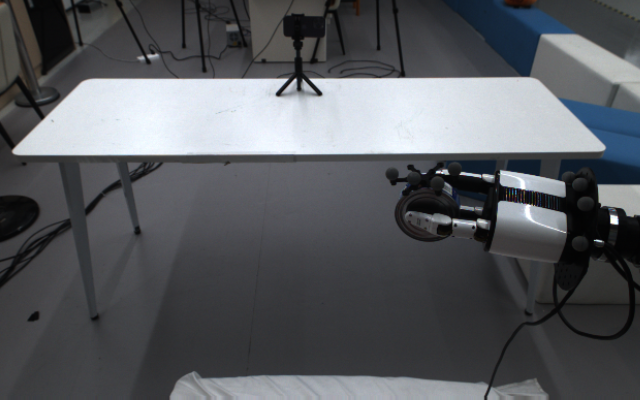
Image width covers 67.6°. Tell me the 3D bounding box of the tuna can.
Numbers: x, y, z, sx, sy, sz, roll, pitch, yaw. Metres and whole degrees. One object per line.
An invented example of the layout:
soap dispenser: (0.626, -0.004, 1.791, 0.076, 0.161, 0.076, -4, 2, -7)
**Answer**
tuna can: (0.147, 0.012, 0.654, 0.085, 0.085, 0.034, 10, 33, 11)
